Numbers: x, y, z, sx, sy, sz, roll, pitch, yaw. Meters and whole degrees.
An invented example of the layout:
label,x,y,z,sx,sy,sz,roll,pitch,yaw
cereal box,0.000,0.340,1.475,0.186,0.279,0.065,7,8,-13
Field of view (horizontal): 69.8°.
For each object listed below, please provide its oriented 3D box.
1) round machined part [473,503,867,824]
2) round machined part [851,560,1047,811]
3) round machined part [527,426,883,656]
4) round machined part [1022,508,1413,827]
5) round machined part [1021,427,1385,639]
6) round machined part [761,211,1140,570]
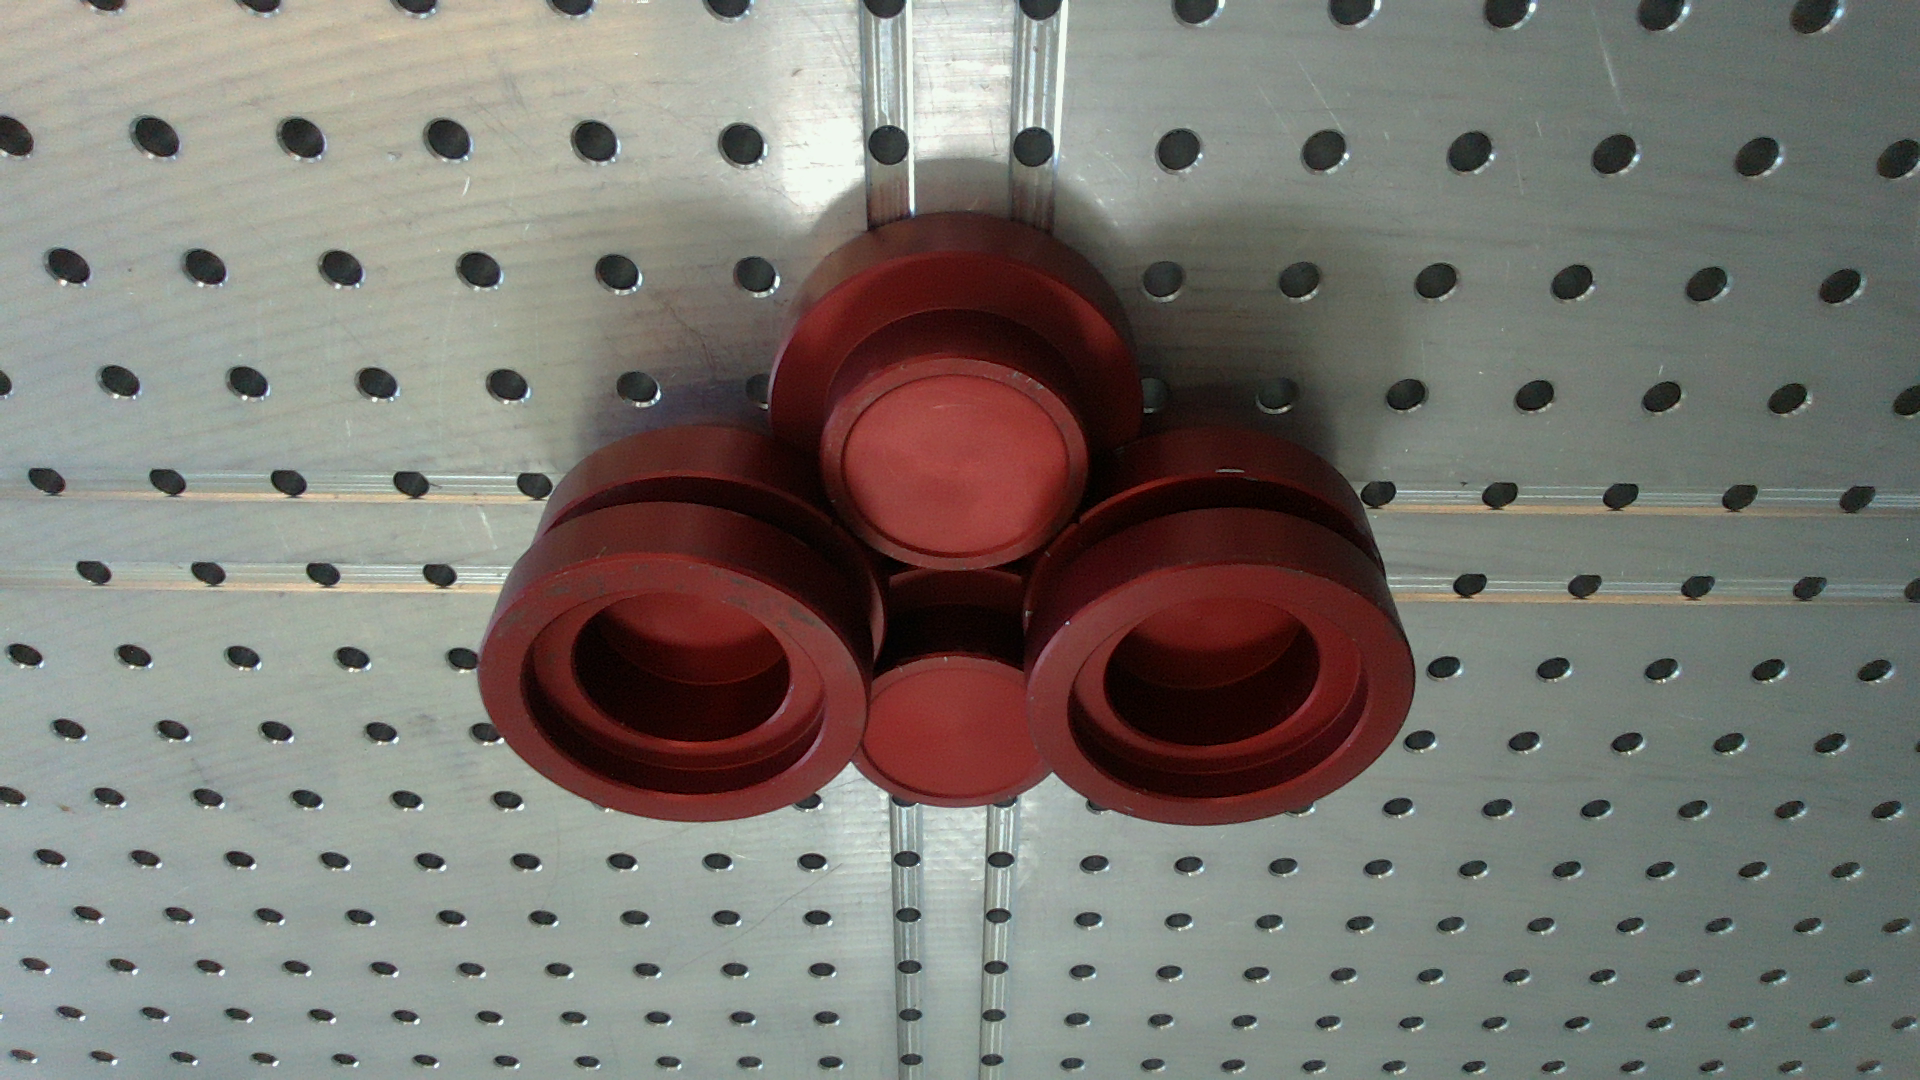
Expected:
label,x,y,z,sx,sy,sz,roll,pitch,yaw
round machined part,-0.073,0.028,0.363,0.098,0.042,0.098,0,130,0
round machined part,-0.002,0.045,0.419,0.098,0.042,0.098,0,130,0
round machined part,-0.070,0.007,0.388,0.098,0.042,0.098,0,130,0
round machined part,0.065,0.029,0.365,0.098,0.042,0.098,0,130,0
round machined part,0.065,0.008,0.388,0.098,0.042,0.098,0,130,0
round machined part,-0.002,-0.031,0.356,0.098,0.042,0.098,0,130,0
